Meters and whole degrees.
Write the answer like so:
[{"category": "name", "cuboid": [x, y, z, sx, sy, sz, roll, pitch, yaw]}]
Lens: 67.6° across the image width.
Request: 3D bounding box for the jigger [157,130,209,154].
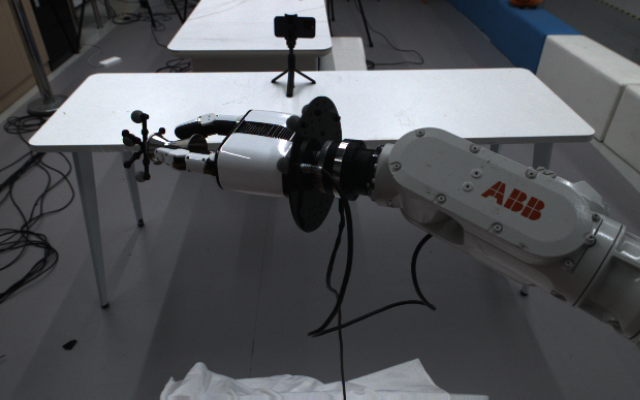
[{"category": "jigger", "cuboid": [-0.182, -0.069, 0.635, 0.071, 0.043, 0.043, 6, 34, 20]}]
